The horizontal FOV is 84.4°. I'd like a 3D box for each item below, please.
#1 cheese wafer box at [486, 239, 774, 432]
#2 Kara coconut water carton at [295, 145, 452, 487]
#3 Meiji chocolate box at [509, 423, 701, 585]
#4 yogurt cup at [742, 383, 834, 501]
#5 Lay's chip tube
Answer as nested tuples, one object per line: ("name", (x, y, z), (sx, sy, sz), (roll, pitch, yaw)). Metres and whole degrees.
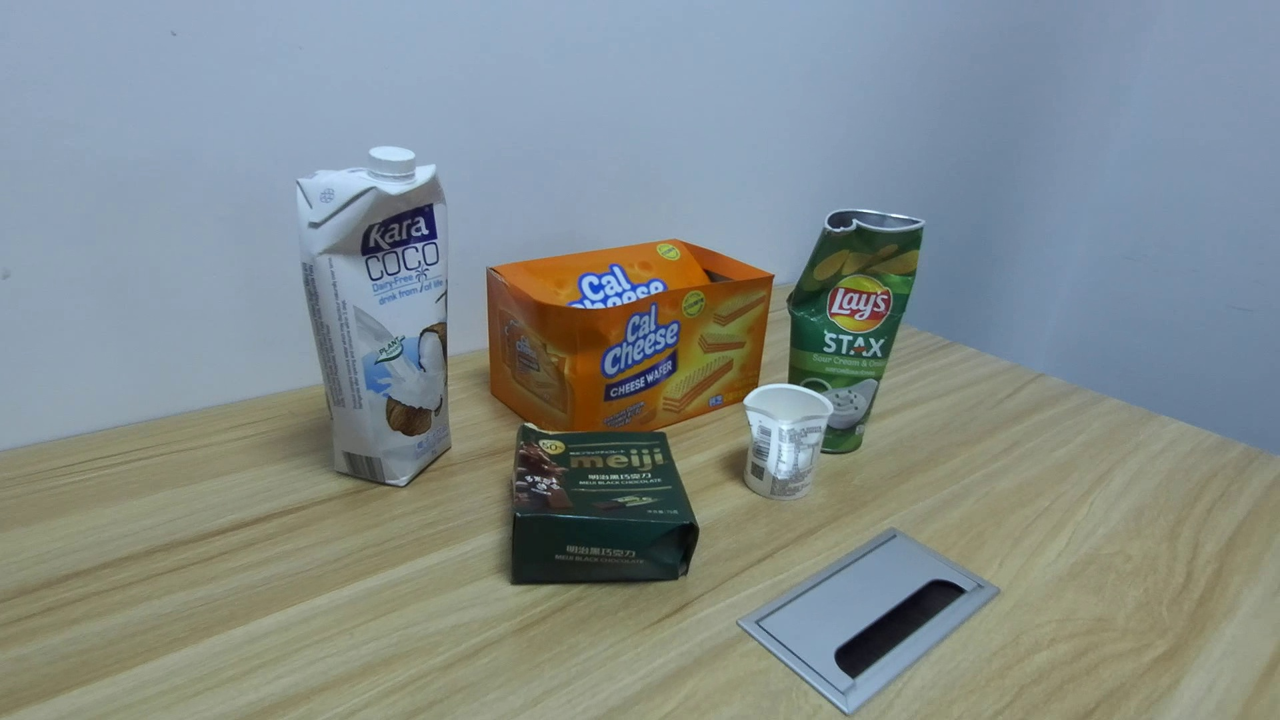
("cheese wafer box", (-0.009, -0.020, 0.655), (0.231, 0.132, 0.151), (-13, 30, -36))
("Kara coconut water carton", (-0.185, -0.029, 0.510), (0.069, 0.238, 0.115), (12, 25, 15))
("Meiji chocolate box", (-0.029, 0.095, 0.478), (0.116, 0.058, 0.122), (3, 24, -9))
("yogurt cup", (0.110, 0.063, 0.544), (0.067, 0.070, 0.067), (2, 23, 0))
("Lay's chip tube", (0.171, -0.023, 0.591), (0.077, 0.201, 0.069), (-18, 32, -36))
